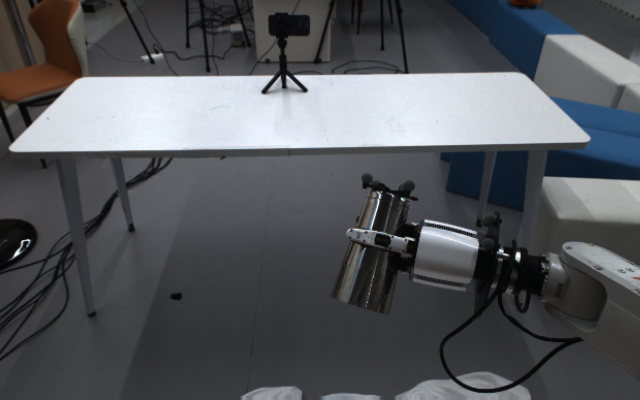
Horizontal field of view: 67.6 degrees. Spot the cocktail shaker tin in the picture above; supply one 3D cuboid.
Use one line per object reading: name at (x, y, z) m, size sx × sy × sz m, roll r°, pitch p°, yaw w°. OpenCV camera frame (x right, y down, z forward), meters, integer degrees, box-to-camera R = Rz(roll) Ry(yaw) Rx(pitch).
cocktail shaker tin at (0.082, 0.076, 0.735) m, size 0.093 × 0.170 × 0.093 m, roll 16°, pitch -6°, yaw 2°
